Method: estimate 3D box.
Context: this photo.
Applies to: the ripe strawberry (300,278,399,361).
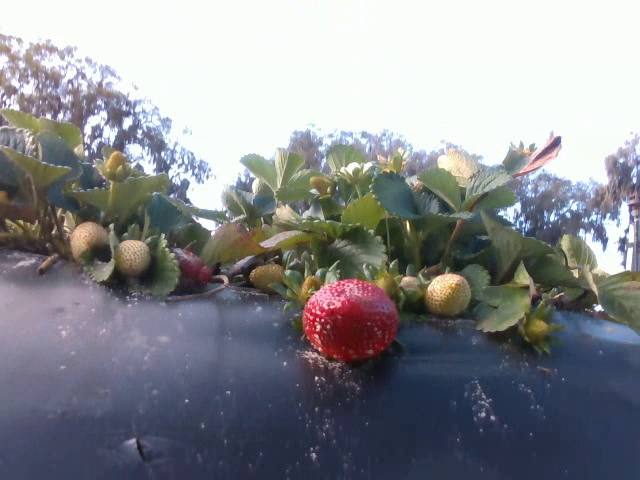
[{"bbox_3d":[0.015,0.037,0.318,0.052,0.045,0.068,9,-12,1],"label":"ripe strawberry"}]
